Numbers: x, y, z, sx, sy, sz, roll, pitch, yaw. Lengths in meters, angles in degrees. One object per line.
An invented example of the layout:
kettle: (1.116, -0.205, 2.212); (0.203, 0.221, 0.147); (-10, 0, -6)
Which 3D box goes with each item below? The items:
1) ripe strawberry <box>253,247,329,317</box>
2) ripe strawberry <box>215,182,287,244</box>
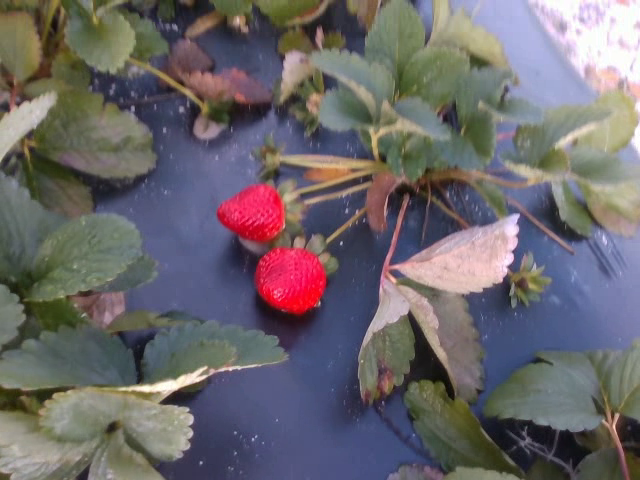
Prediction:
ripe strawberry: (-0.023, 0.022, 0.407); (0.057, 0.051, 0.064); (19, 24, 9)
ripe strawberry: (-0.052, -0.021, 0.443); (0.055, 0.041, 0.049); (-14, 53, -40)
